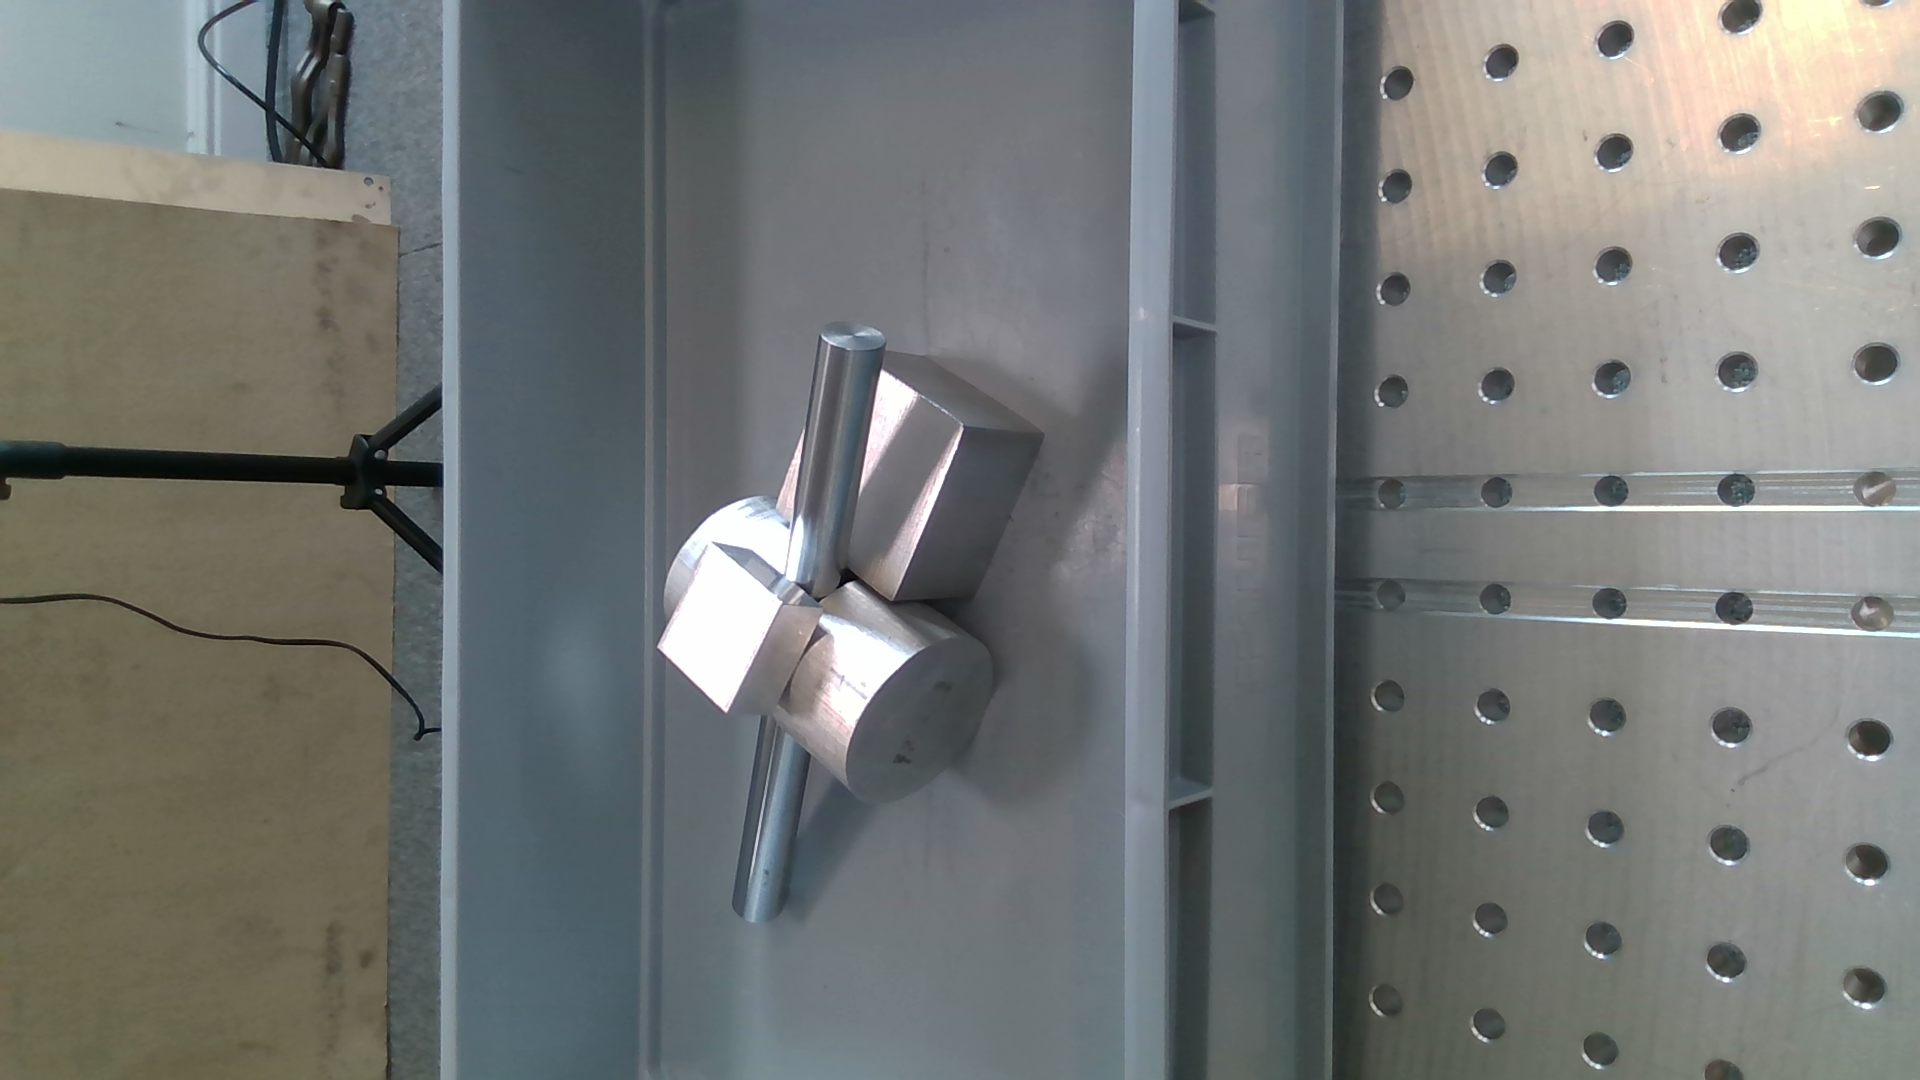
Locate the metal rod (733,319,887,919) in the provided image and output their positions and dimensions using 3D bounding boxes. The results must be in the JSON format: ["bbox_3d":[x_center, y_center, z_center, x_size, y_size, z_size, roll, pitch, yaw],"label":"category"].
[{"bbox_3d":[-0.069,0.049,0.588,0.025,0.025,0.301,37,129,34],"label":"metal rod"}]

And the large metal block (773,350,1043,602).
[{"bbox_3d":[-0.023,-0.029,0.581,0.080,0.050,0.080,36,113,34],"label":"large metal block"}]

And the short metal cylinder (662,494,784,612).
[{"bbox_3d":[-0.085,0.026,0.617,0.050,0.080,0.080,37,113,34],"label":"short metal cylinder"}]

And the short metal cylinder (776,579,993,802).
[{"bbox_3d":[-0.032,0.061,0.574,0.050,0.080,0.080,35,112,35],"label":"short metal cylinder"}]

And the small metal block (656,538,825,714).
[{"bbox_3d":[-0.089,0.035,0.553,0.050,0.025,0.050,36,104,34],"label":"small metal block"}]
